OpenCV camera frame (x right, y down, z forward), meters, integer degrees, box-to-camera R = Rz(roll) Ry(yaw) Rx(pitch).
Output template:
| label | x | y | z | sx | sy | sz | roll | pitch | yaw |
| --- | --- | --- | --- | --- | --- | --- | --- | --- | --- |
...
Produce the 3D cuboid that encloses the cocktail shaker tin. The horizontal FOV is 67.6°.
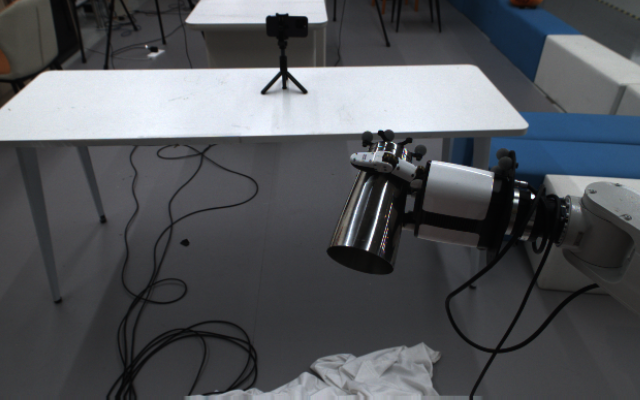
| label | x | y | z | sx | sy | sz | roll | pitch | yaw |
| --- | --- | --- | --- | --- | --- | --- | --- | --- | --- |
| cocktail shaker tin | 0.080 | 0.003 | 0.667 | 0.093 | 0.093 | 0.170 | 12 | 65 | 14 |
